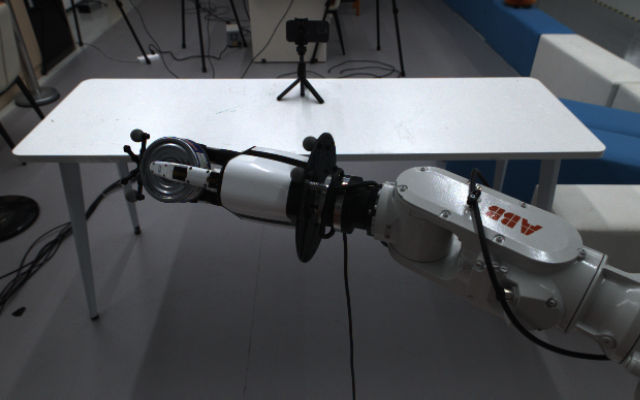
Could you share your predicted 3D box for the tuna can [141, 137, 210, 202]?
[{"bbox_3d":[-0.185,-0.036,0.622,0.085,0.085,0.034,10,3,11],"label":"tuna can"}]
